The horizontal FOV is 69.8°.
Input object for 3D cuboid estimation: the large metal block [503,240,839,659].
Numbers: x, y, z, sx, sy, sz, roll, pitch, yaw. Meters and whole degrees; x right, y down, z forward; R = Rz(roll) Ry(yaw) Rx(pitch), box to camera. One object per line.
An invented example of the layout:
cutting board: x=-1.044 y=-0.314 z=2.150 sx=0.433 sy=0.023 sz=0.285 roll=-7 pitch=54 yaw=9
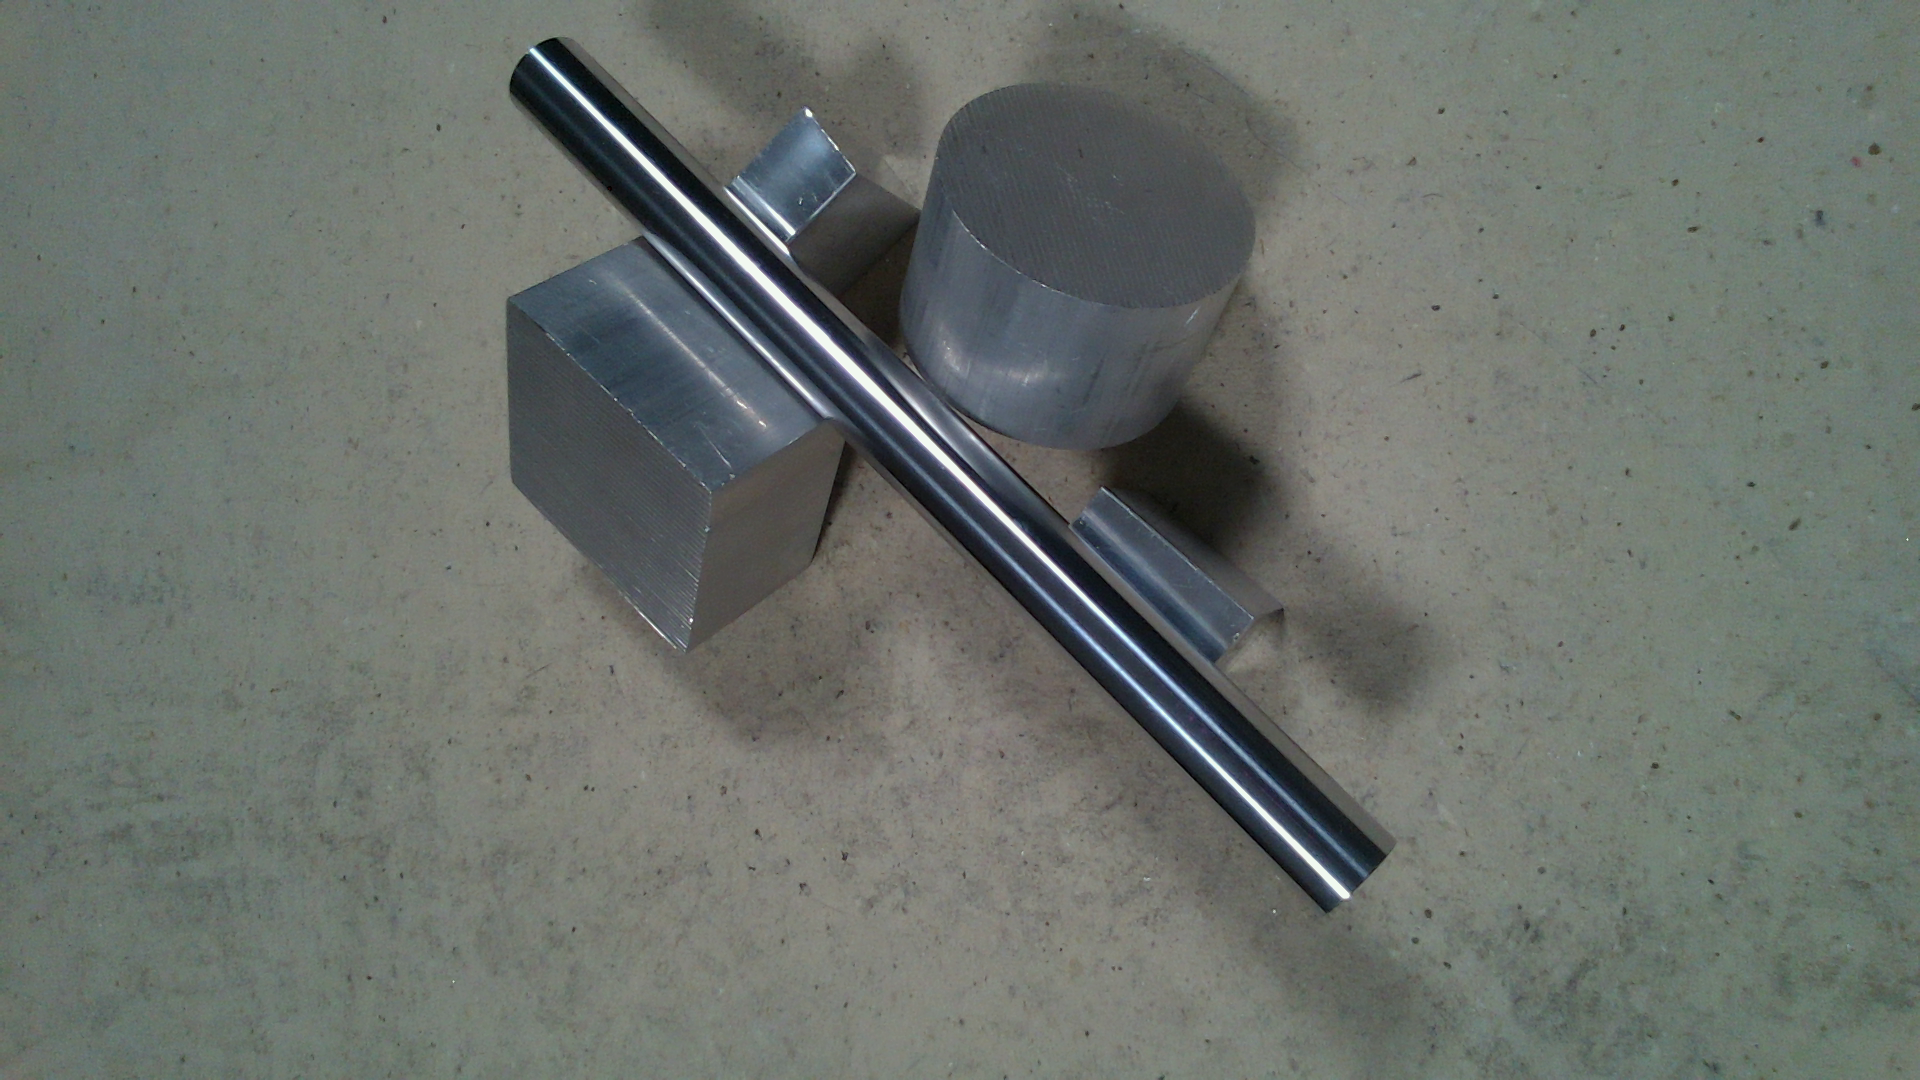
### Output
large metal block: x=-0.084 y=-0.027 z=0.394 sx=0.080 sy=0.050 sz=0.080 roll=42 pitch=144 yaw=15

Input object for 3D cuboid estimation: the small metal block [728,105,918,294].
small metal block: x=-0.044 y=-0.092 z=0.399 sx=0.050 sy=0.050 sz=0.025 roll=-41 pitch=77 yaw=16

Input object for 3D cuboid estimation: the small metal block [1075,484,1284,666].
small metal block: x=0.054 y=0.012 z=0.360 sx=0.050 sy=0.050 sz=0.025 roll=43 pitch=104 yaw=15

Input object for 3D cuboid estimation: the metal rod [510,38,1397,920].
metal rod: x=-0.013 y=-0.026 z=0.347 sx=0.300 sy=0.025 sz=0.025 roll=45 pitch=104 yaw=14

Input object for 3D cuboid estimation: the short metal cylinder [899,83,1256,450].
short metal cylinder: x=0.028 y=-0.070 z=0.350 sx=0.080 sy=0.080 sz=0.050 roll=41 pitch=144 yaw=15
